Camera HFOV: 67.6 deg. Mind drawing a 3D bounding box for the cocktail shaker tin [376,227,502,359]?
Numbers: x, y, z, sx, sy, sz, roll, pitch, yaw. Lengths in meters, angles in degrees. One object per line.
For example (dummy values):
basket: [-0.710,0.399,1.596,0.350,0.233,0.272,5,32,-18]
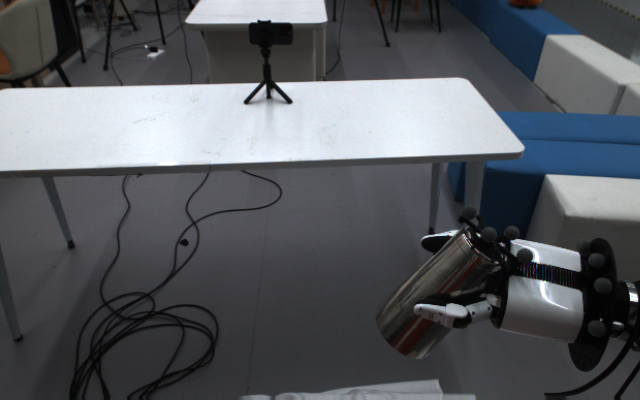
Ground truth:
cocktail shaker tin: [0.155,0.109,0.618,0.093,0.170,0.093,26,32,-18]
